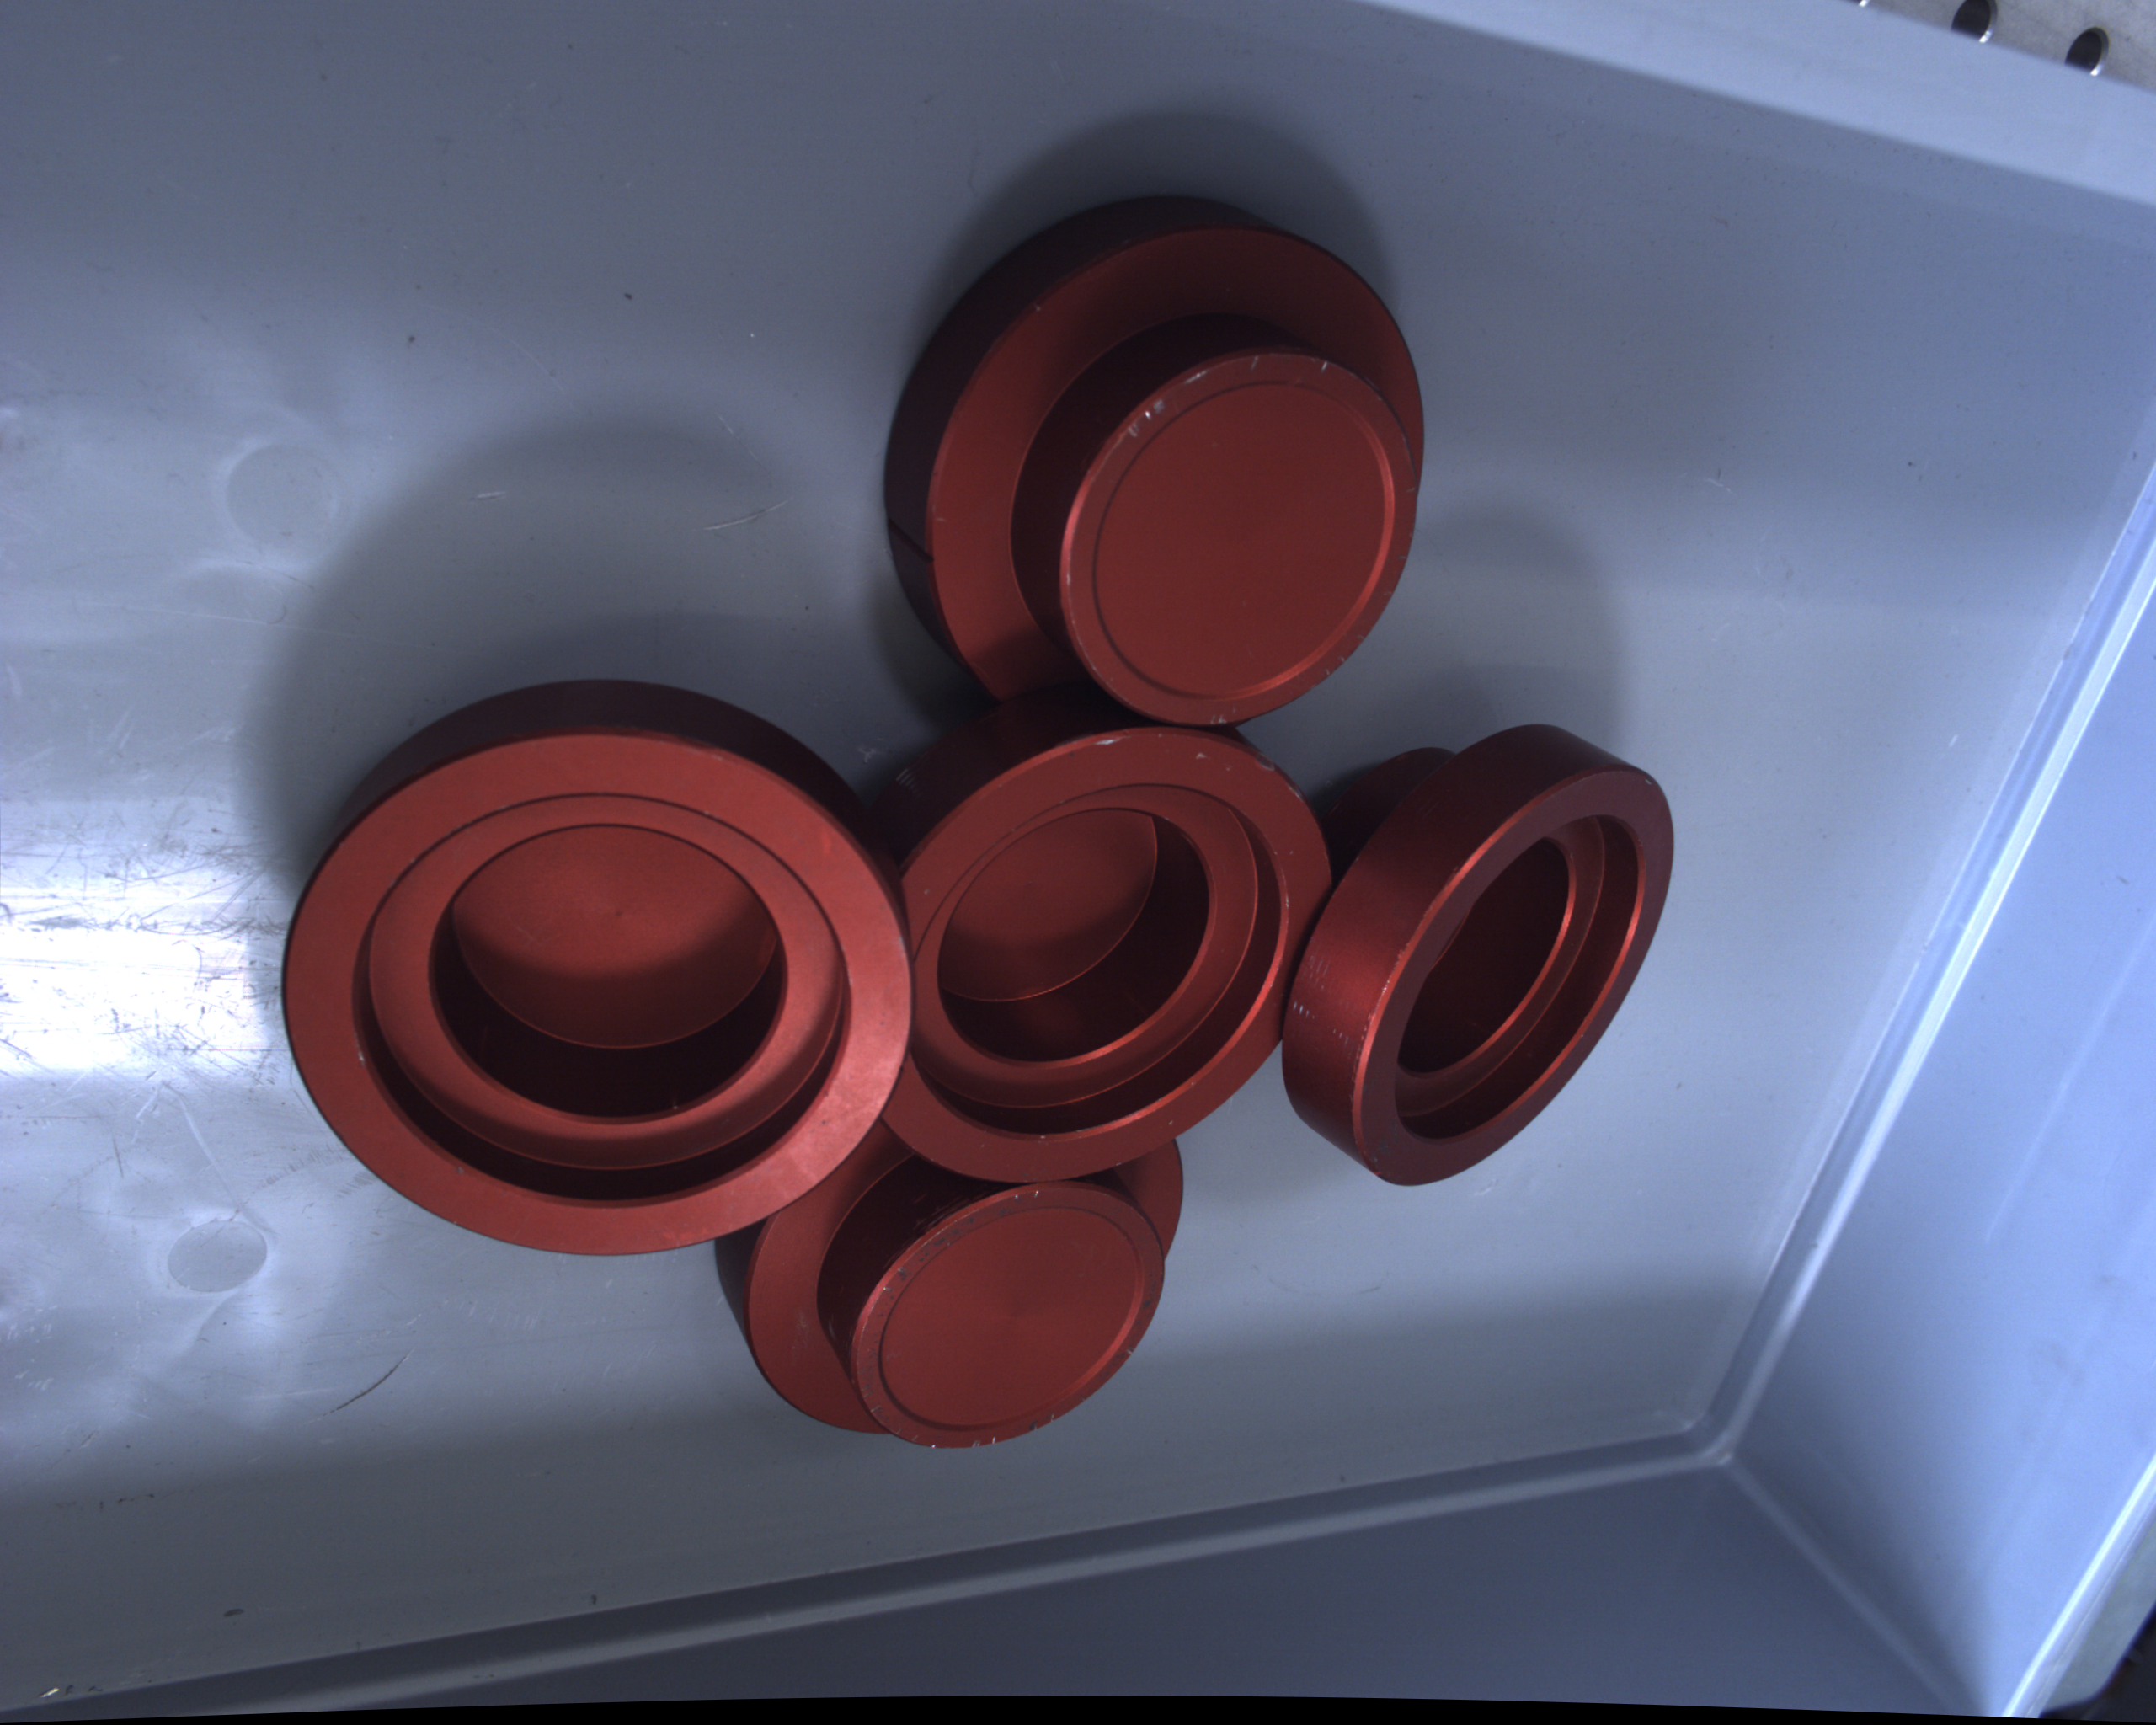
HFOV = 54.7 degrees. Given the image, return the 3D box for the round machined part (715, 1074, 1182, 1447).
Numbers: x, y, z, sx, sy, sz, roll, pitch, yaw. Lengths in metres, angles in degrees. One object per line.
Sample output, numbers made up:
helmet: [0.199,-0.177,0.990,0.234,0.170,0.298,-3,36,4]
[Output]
round machined part: [-0.022,0.082,0.434,0.099,0.042,0.097,-14,124,-21]

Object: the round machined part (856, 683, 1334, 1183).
round machined part: [-0.004,0.010,0.398,0.099,0.042,0.097,-14,124,-21]

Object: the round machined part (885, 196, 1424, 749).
round machined part: [0.019,-0.063,0.367,0.099,0.042,0.097,-14,124,-21]

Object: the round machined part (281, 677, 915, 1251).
round machined part: [-0.078,0.014,0.351,0.099,0.042,0.097,-4,117,-7]

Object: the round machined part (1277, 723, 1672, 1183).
round machined part: [0.076,0.015,0.435,0.099,0.042,0.097,-28,135,-31]
